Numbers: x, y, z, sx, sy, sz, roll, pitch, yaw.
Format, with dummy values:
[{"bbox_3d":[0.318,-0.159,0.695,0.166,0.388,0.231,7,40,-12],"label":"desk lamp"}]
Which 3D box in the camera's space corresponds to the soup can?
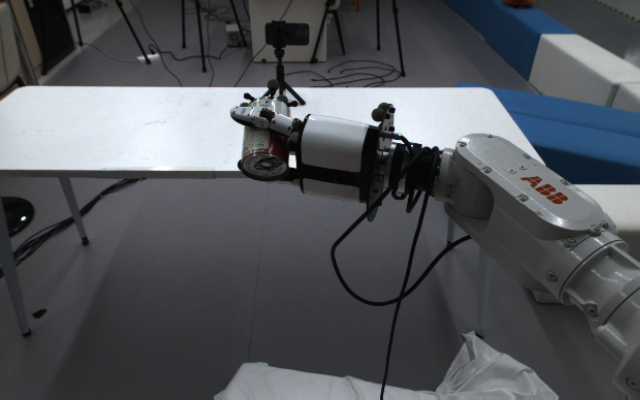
[{"bbox_3d":[-0.076,-0.087,0.688,0.067,0.067,0.101,1,61,-2],"label":"soup can"}]
